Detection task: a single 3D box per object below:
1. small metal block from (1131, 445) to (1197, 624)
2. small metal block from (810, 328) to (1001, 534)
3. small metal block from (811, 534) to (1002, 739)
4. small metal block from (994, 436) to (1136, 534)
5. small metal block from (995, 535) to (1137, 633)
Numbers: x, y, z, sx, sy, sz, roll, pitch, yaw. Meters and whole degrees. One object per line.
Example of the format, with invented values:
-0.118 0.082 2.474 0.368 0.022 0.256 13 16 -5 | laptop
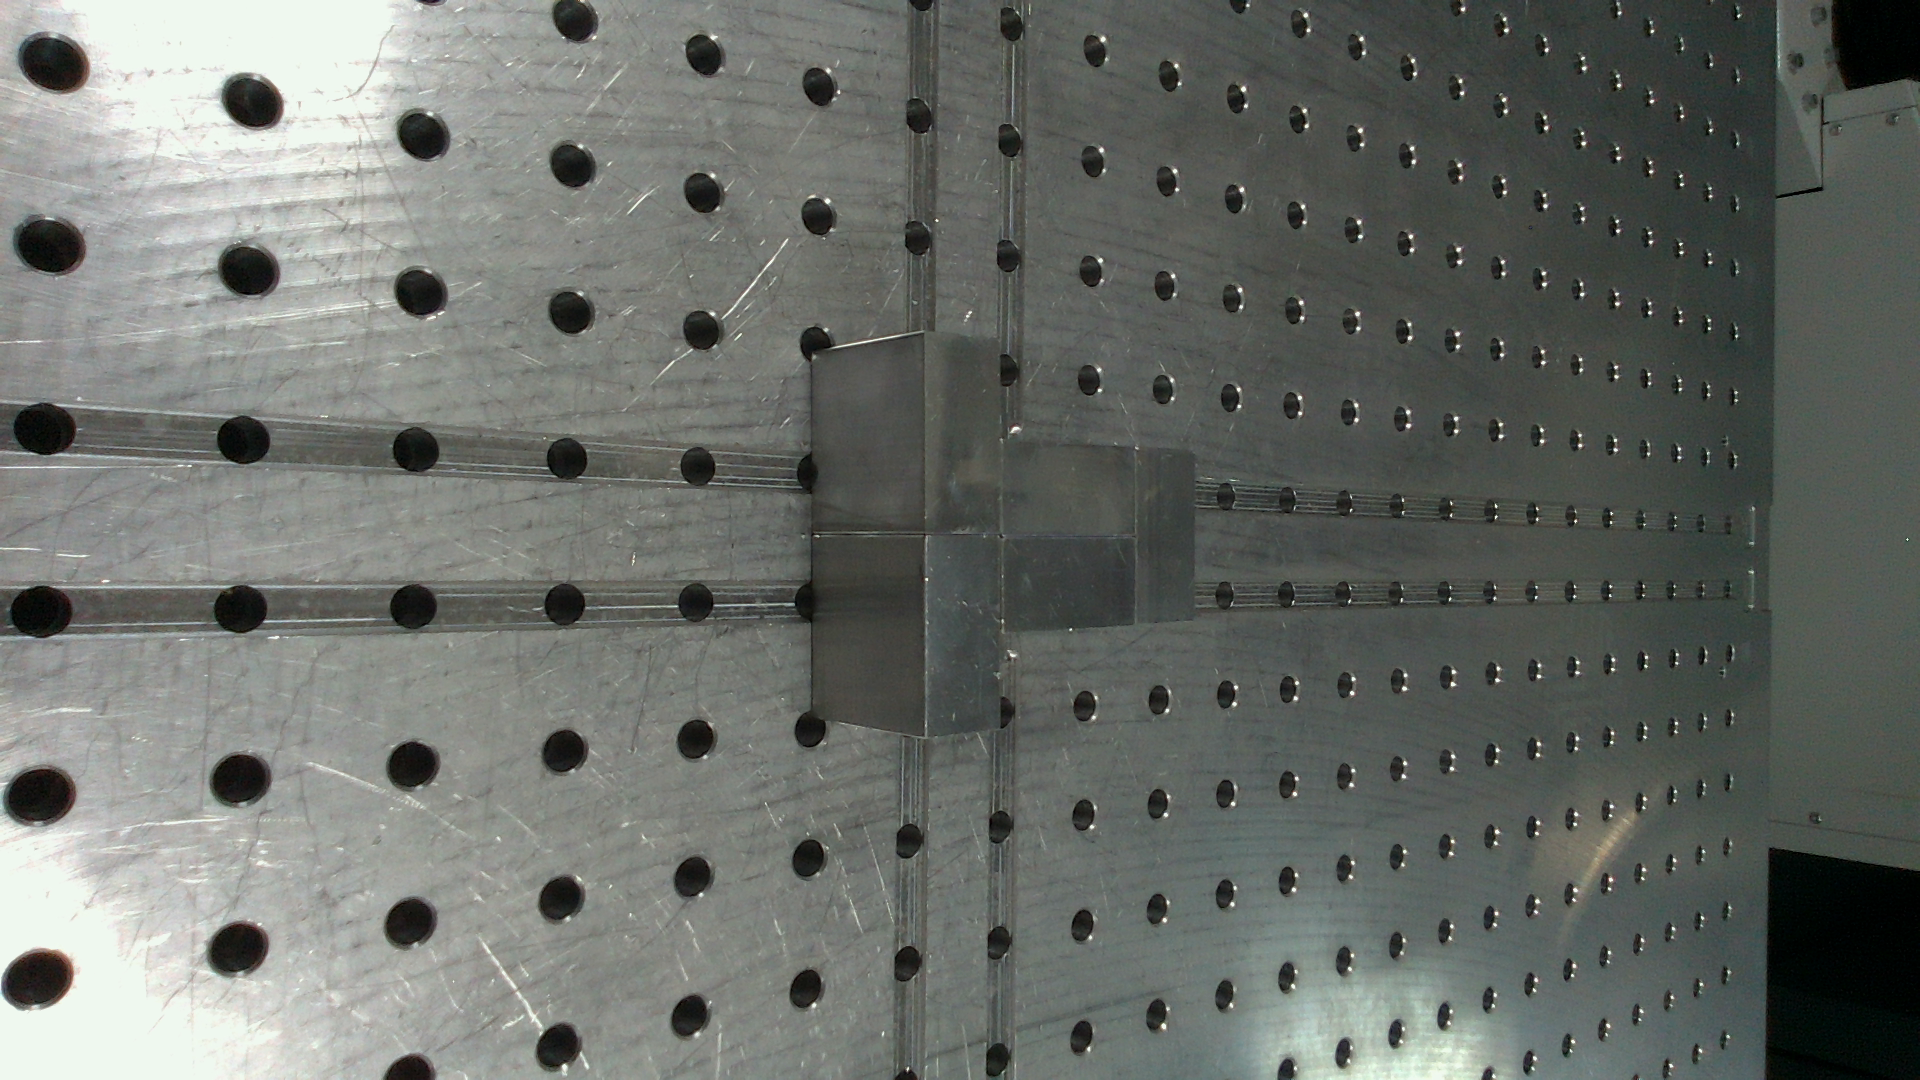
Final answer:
0.043 -0.002 0.411 0.025 0.050 0.050 0 90 -40 | small metal block
-0.015 -0.027 0.362 0.025 0.050 0.050 0 90 -40 | small metal block
-0.015 0.023 0.362 0.025 0.050 0.050 0 90 -40 | small metal block
0.014 -0.014 0.386 0.050 0.050 0.025 0 90 -40 | small metal block
0.014 0.011 0.386 0.050 0.050 0.025 0 90 -40 | small metal block
